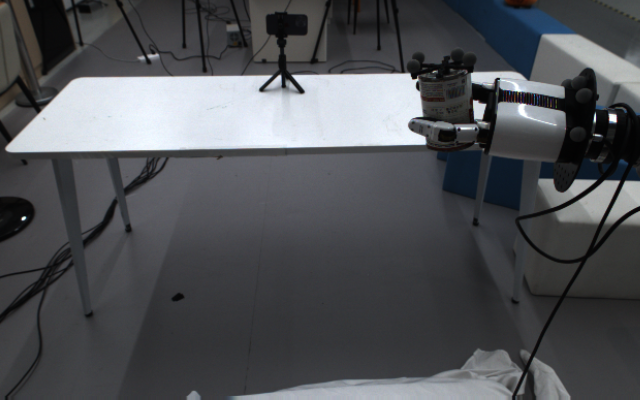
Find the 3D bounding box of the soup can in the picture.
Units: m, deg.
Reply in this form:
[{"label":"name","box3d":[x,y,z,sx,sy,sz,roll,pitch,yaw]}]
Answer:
[{"label":"soup can","box3d":[0.172,-0.125,0.647,0.067,0.101,0.067,-11,27,6]}]
